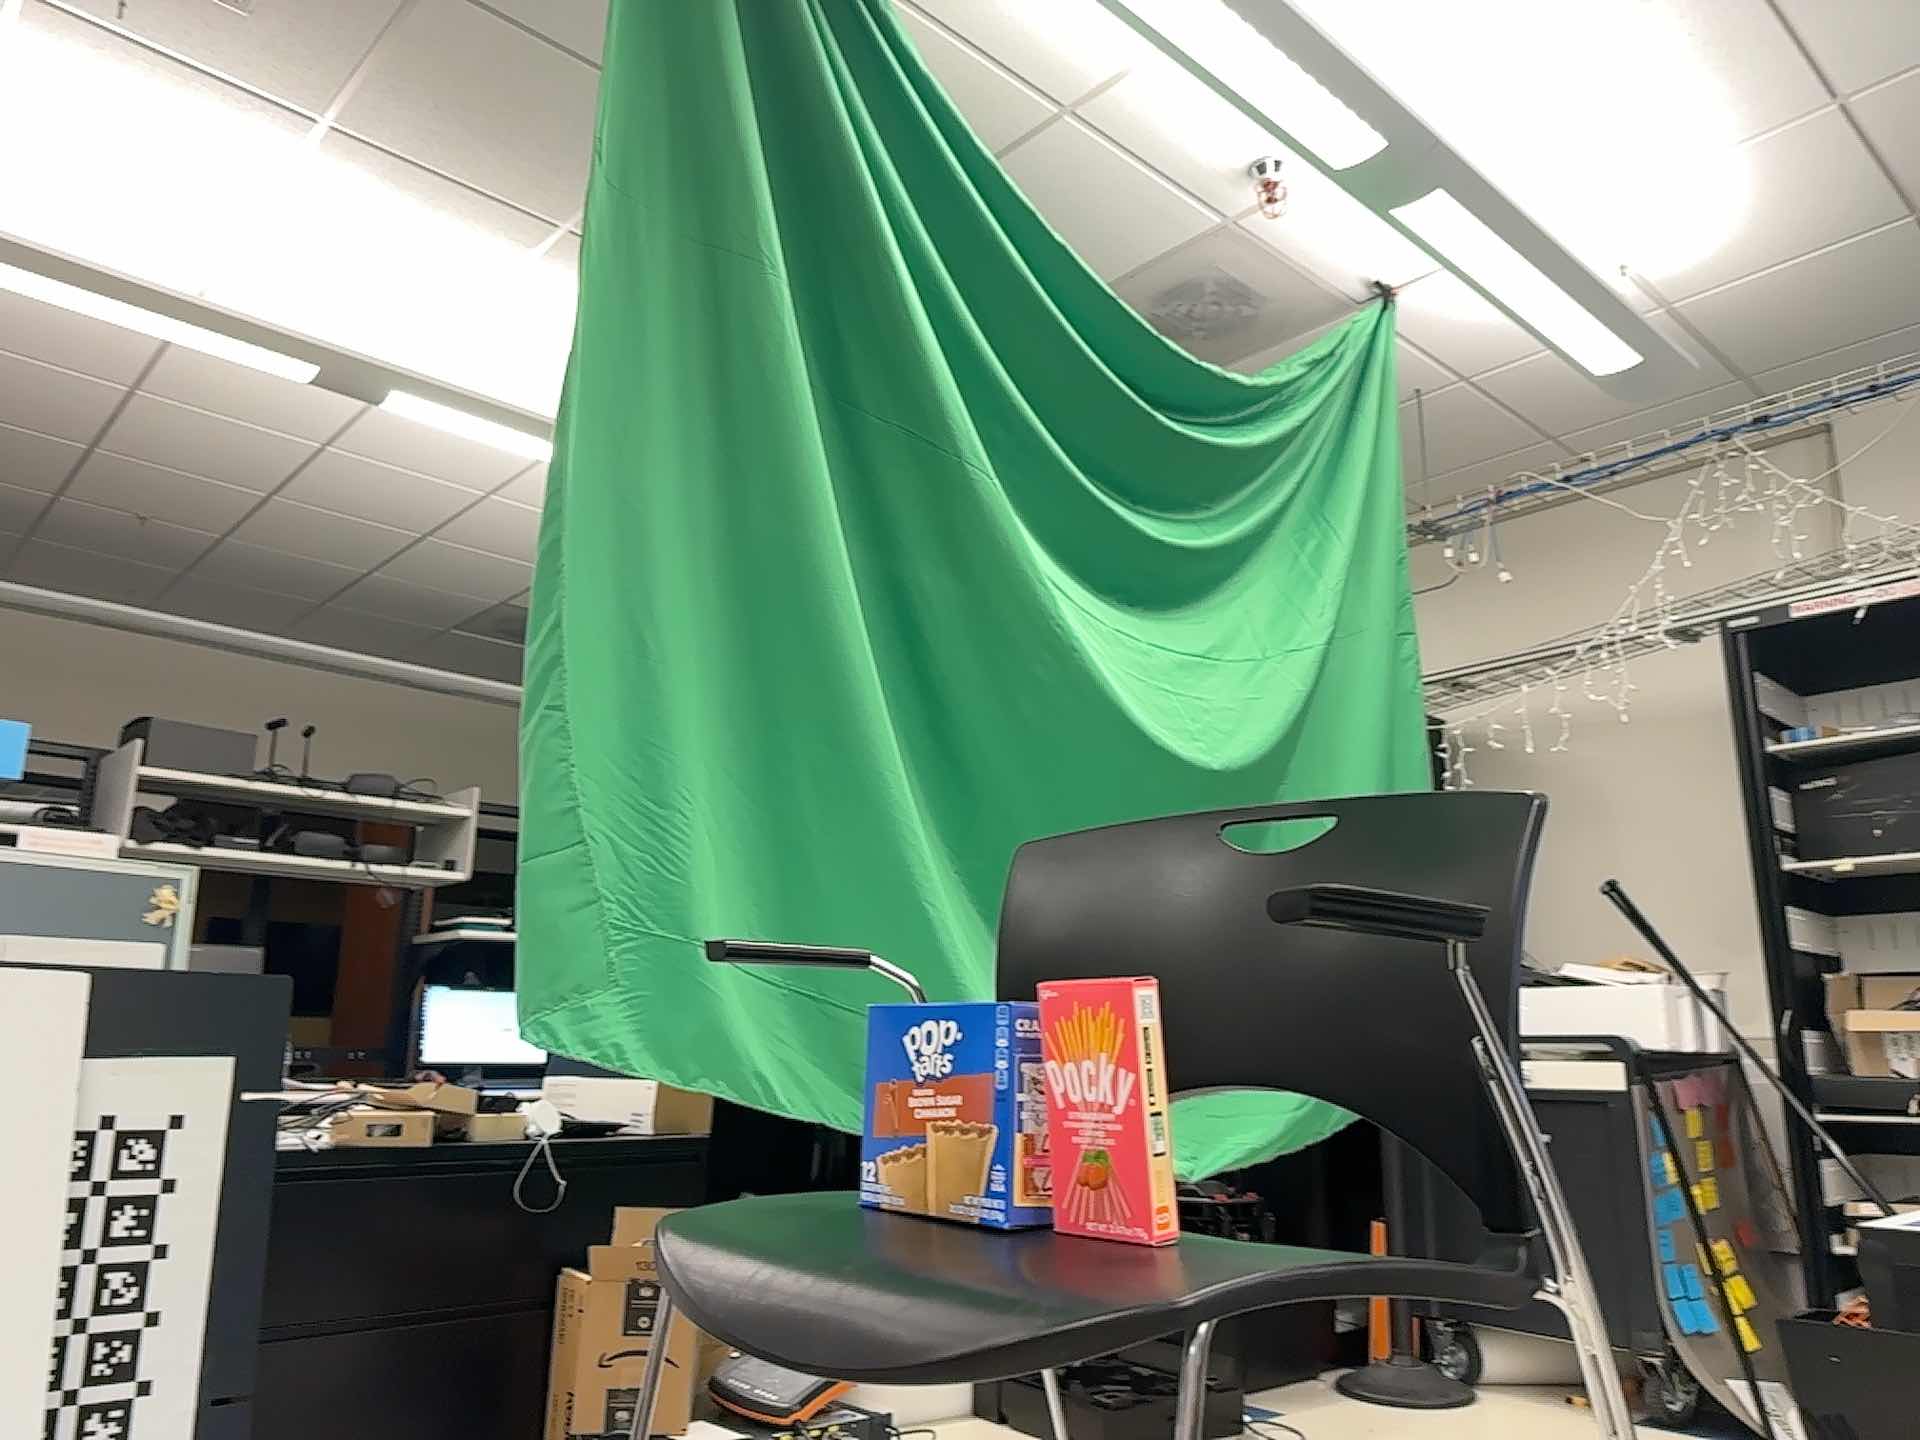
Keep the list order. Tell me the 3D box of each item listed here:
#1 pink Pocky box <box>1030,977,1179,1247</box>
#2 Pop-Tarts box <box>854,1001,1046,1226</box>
[{"bbox_3d":[0.086,0.237,0.828,0.084,0.155,0.029,-11,-12,42],"label":"pink Pocky box"},{"bbox_3d":[0.008,0.269,0.945,0.075,0.135,0.161,13,-17,-41],"label":"Pop-Tarts box"}]
